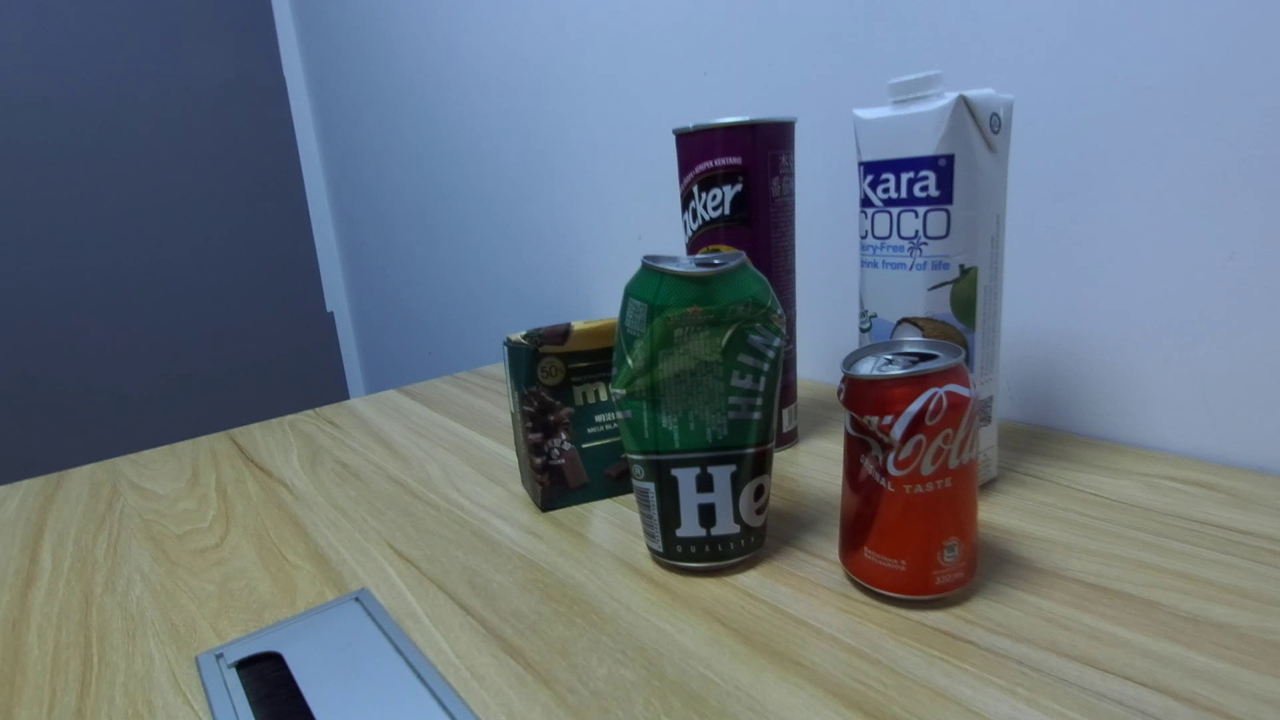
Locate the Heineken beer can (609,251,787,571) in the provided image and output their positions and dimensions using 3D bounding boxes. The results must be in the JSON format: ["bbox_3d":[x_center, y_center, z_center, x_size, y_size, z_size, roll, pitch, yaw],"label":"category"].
[{"bbox_3d":[0.029,0.027,0.373,0.077,0.164,0.066,10,21,37],"label":"Heineken beer can"}]

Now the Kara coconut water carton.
[{"bbox_3d":[0.174,-0.042,0.428,0.075,0.245,0.076,-15,17,-35],"label":"Kara coconut water carton"}]

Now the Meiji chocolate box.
[{"bbox_3d":[-0.033,0.035,0.496,0.113,0.110,0.058,-10,10,-23],"label":"Meiji chocolate box"}]

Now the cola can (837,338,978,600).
[{"bbox_3d":[0.130,0.053,0.341,0.065,0.117,0.072,-2,13,3],"label":"cola can"}]

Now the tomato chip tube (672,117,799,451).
[{"bbox_3d":[0.076,-0.050,0.517,0.077,0.234,0.080,-8,11,-20],"label":"tomato chip tube"}]
